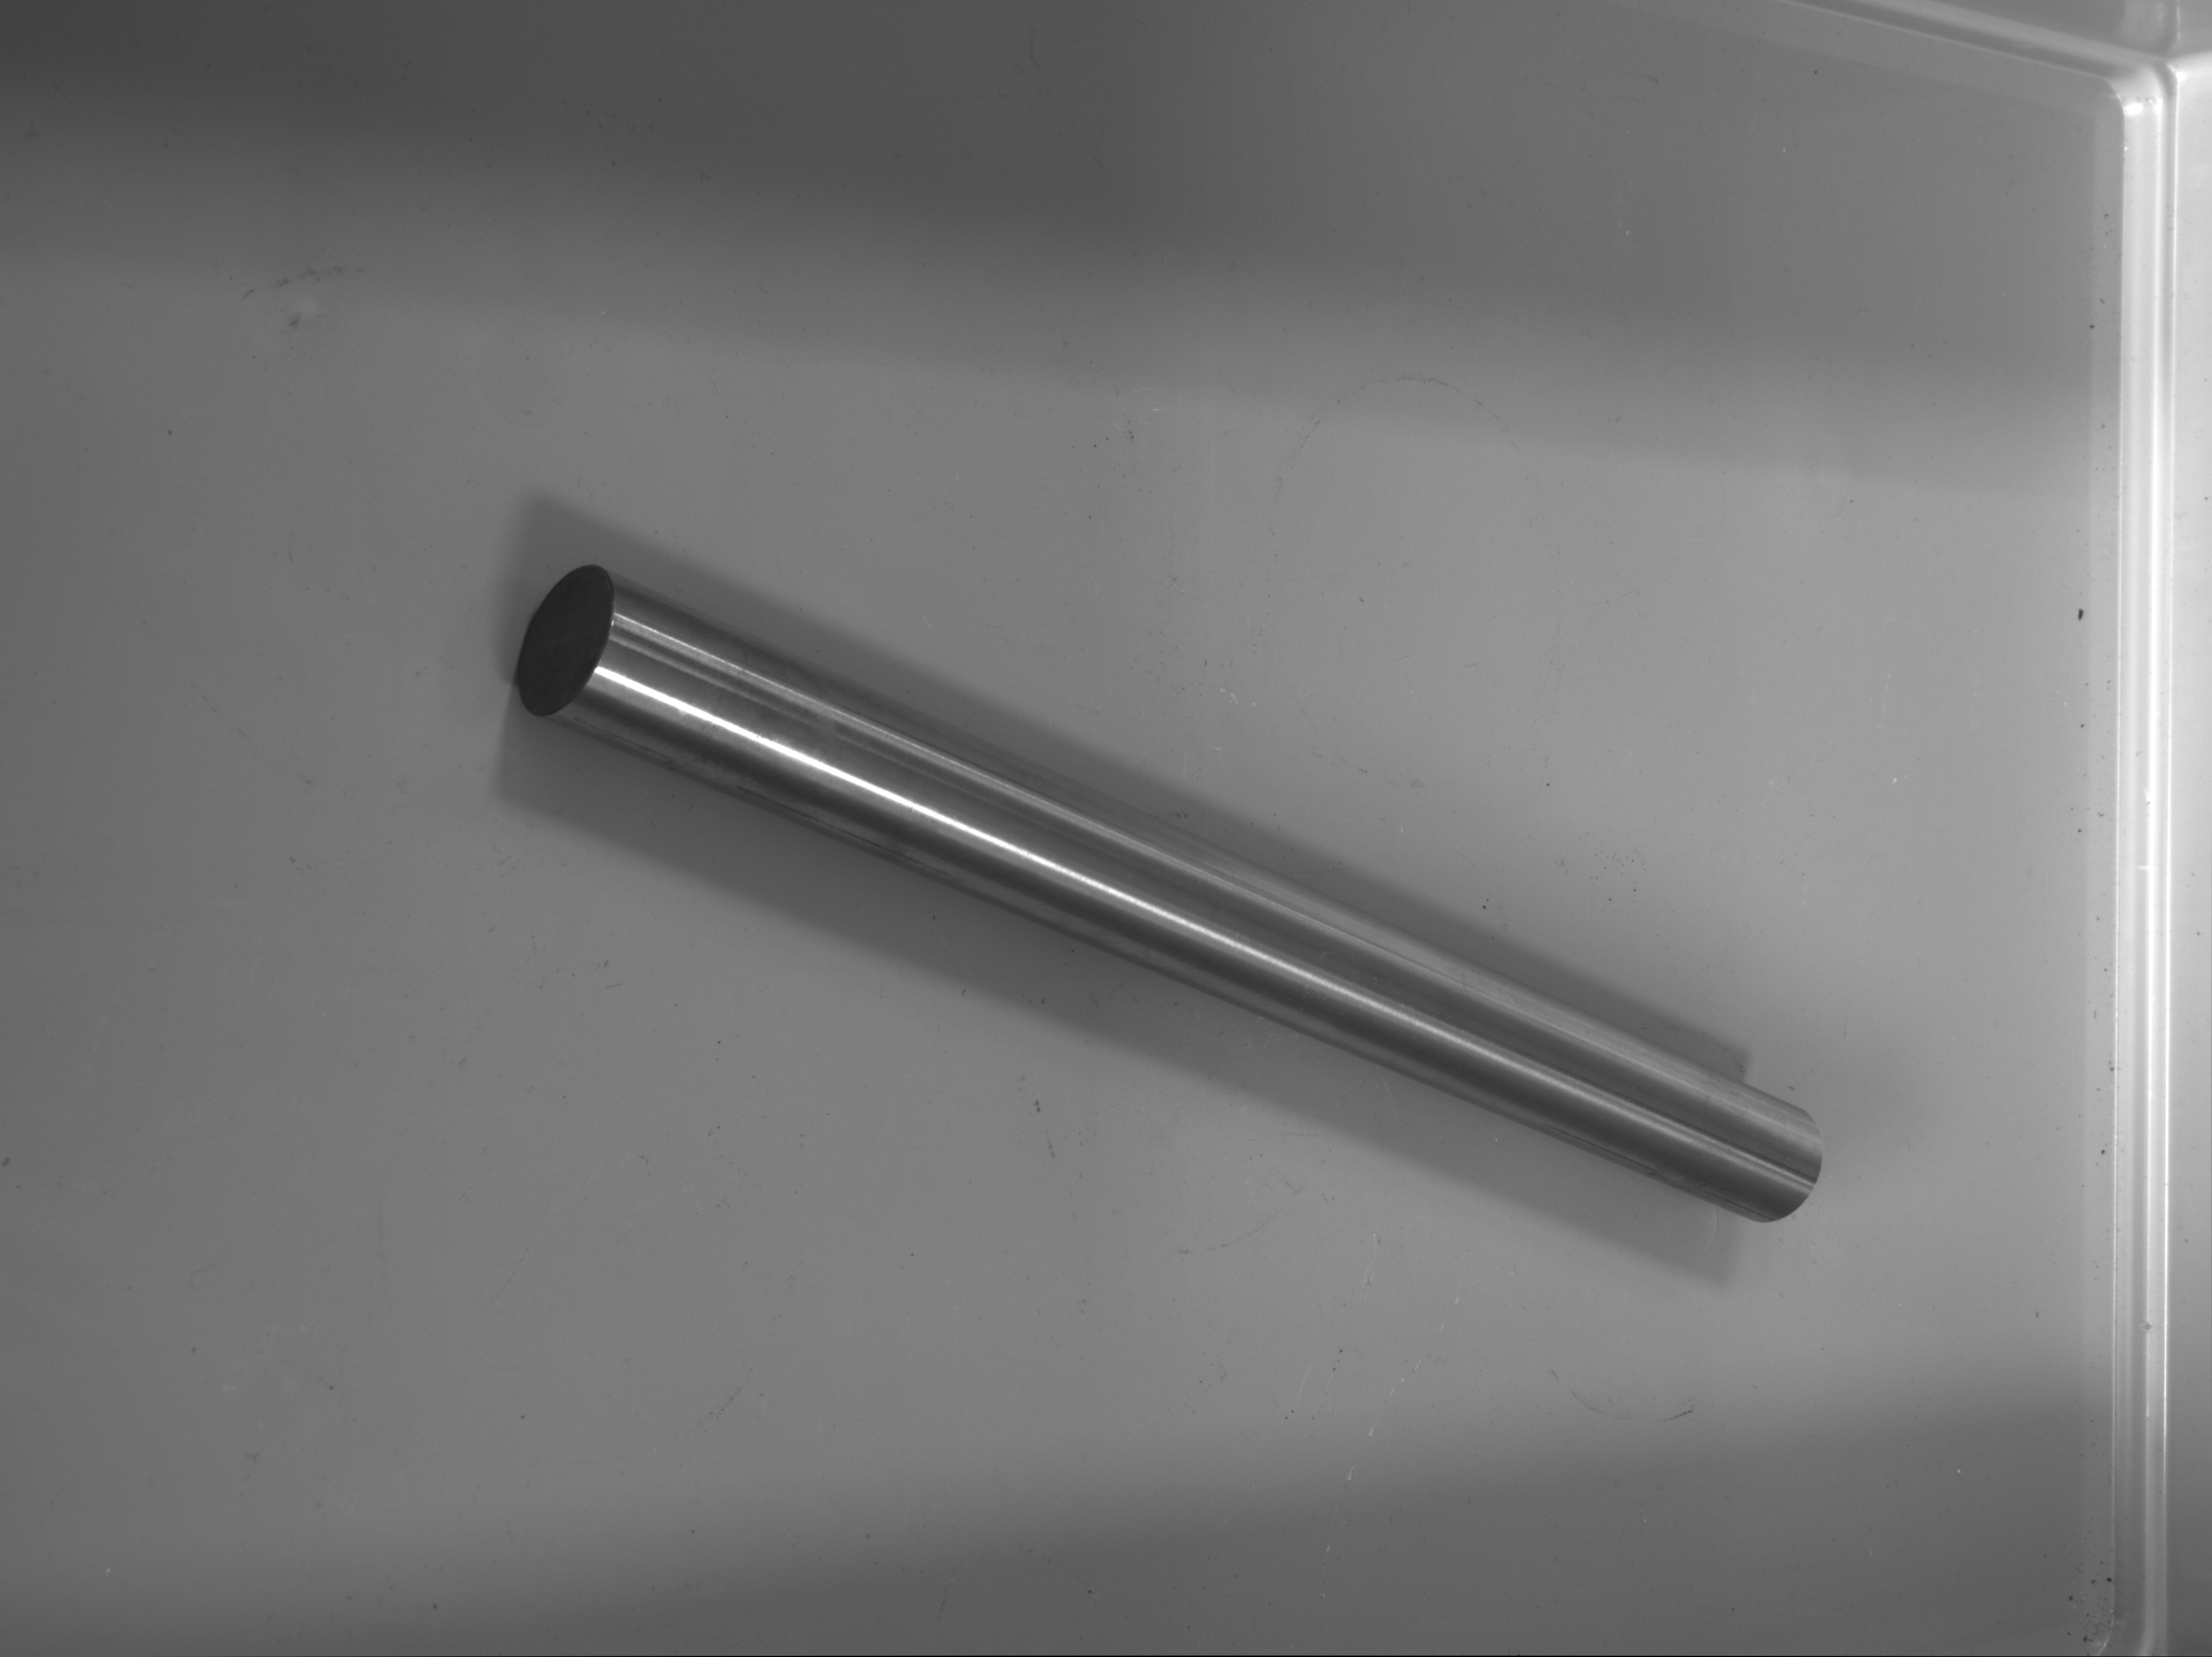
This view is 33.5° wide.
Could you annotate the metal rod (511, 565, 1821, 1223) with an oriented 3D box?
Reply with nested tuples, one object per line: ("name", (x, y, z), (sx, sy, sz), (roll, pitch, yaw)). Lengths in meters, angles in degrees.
("metal rod", (0.025, 0.020, 0.656), (0.301, 0.025, 0.025), (24, 75, -37))
